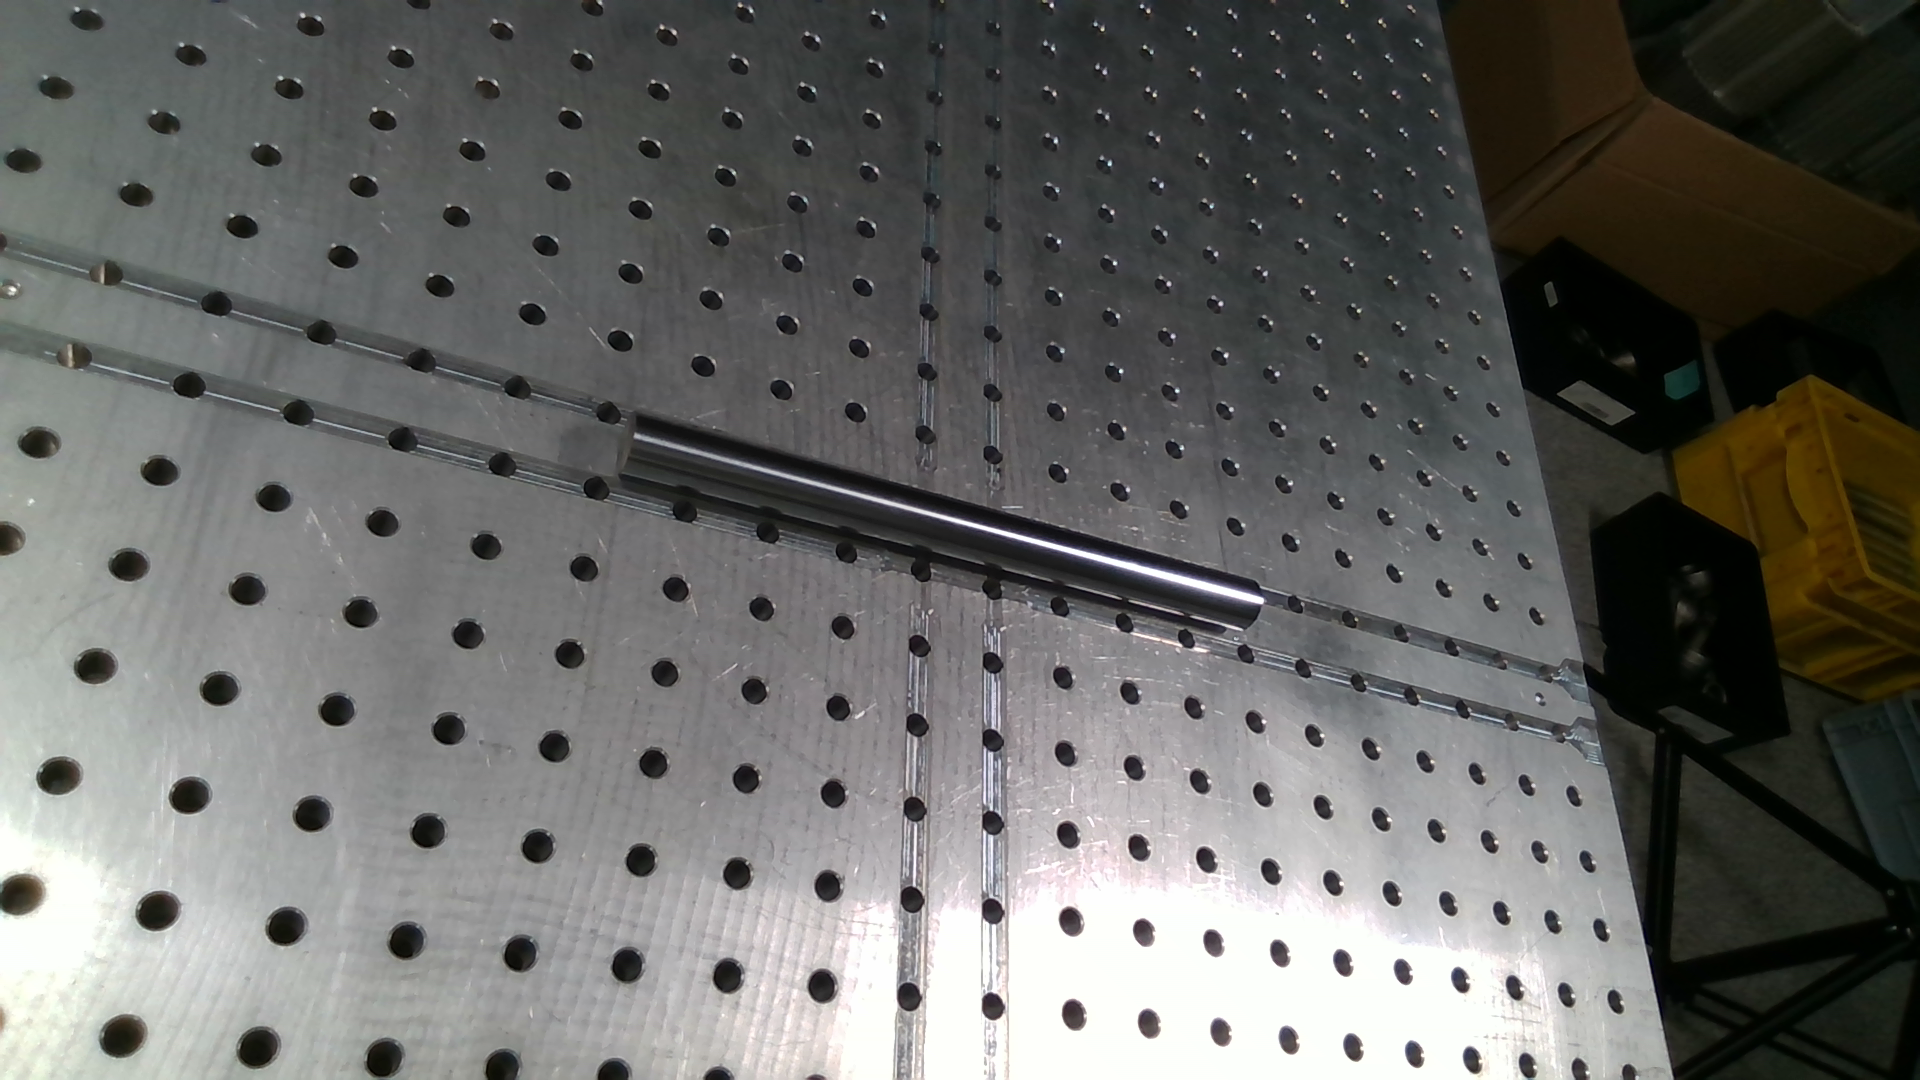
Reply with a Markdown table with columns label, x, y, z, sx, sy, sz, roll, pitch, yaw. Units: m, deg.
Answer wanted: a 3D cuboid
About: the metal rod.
| label | x | y | z | sx | sy | sz | roll | pitch | yaw |
| --- | --- | --- | --- | --- | --- | --- | --- | --- | --- |
| metal rod | 0.004 | -0.003 | 0.593 | 0.300 | 0.025 | 0.025 | 15 | 58 | -25 |
